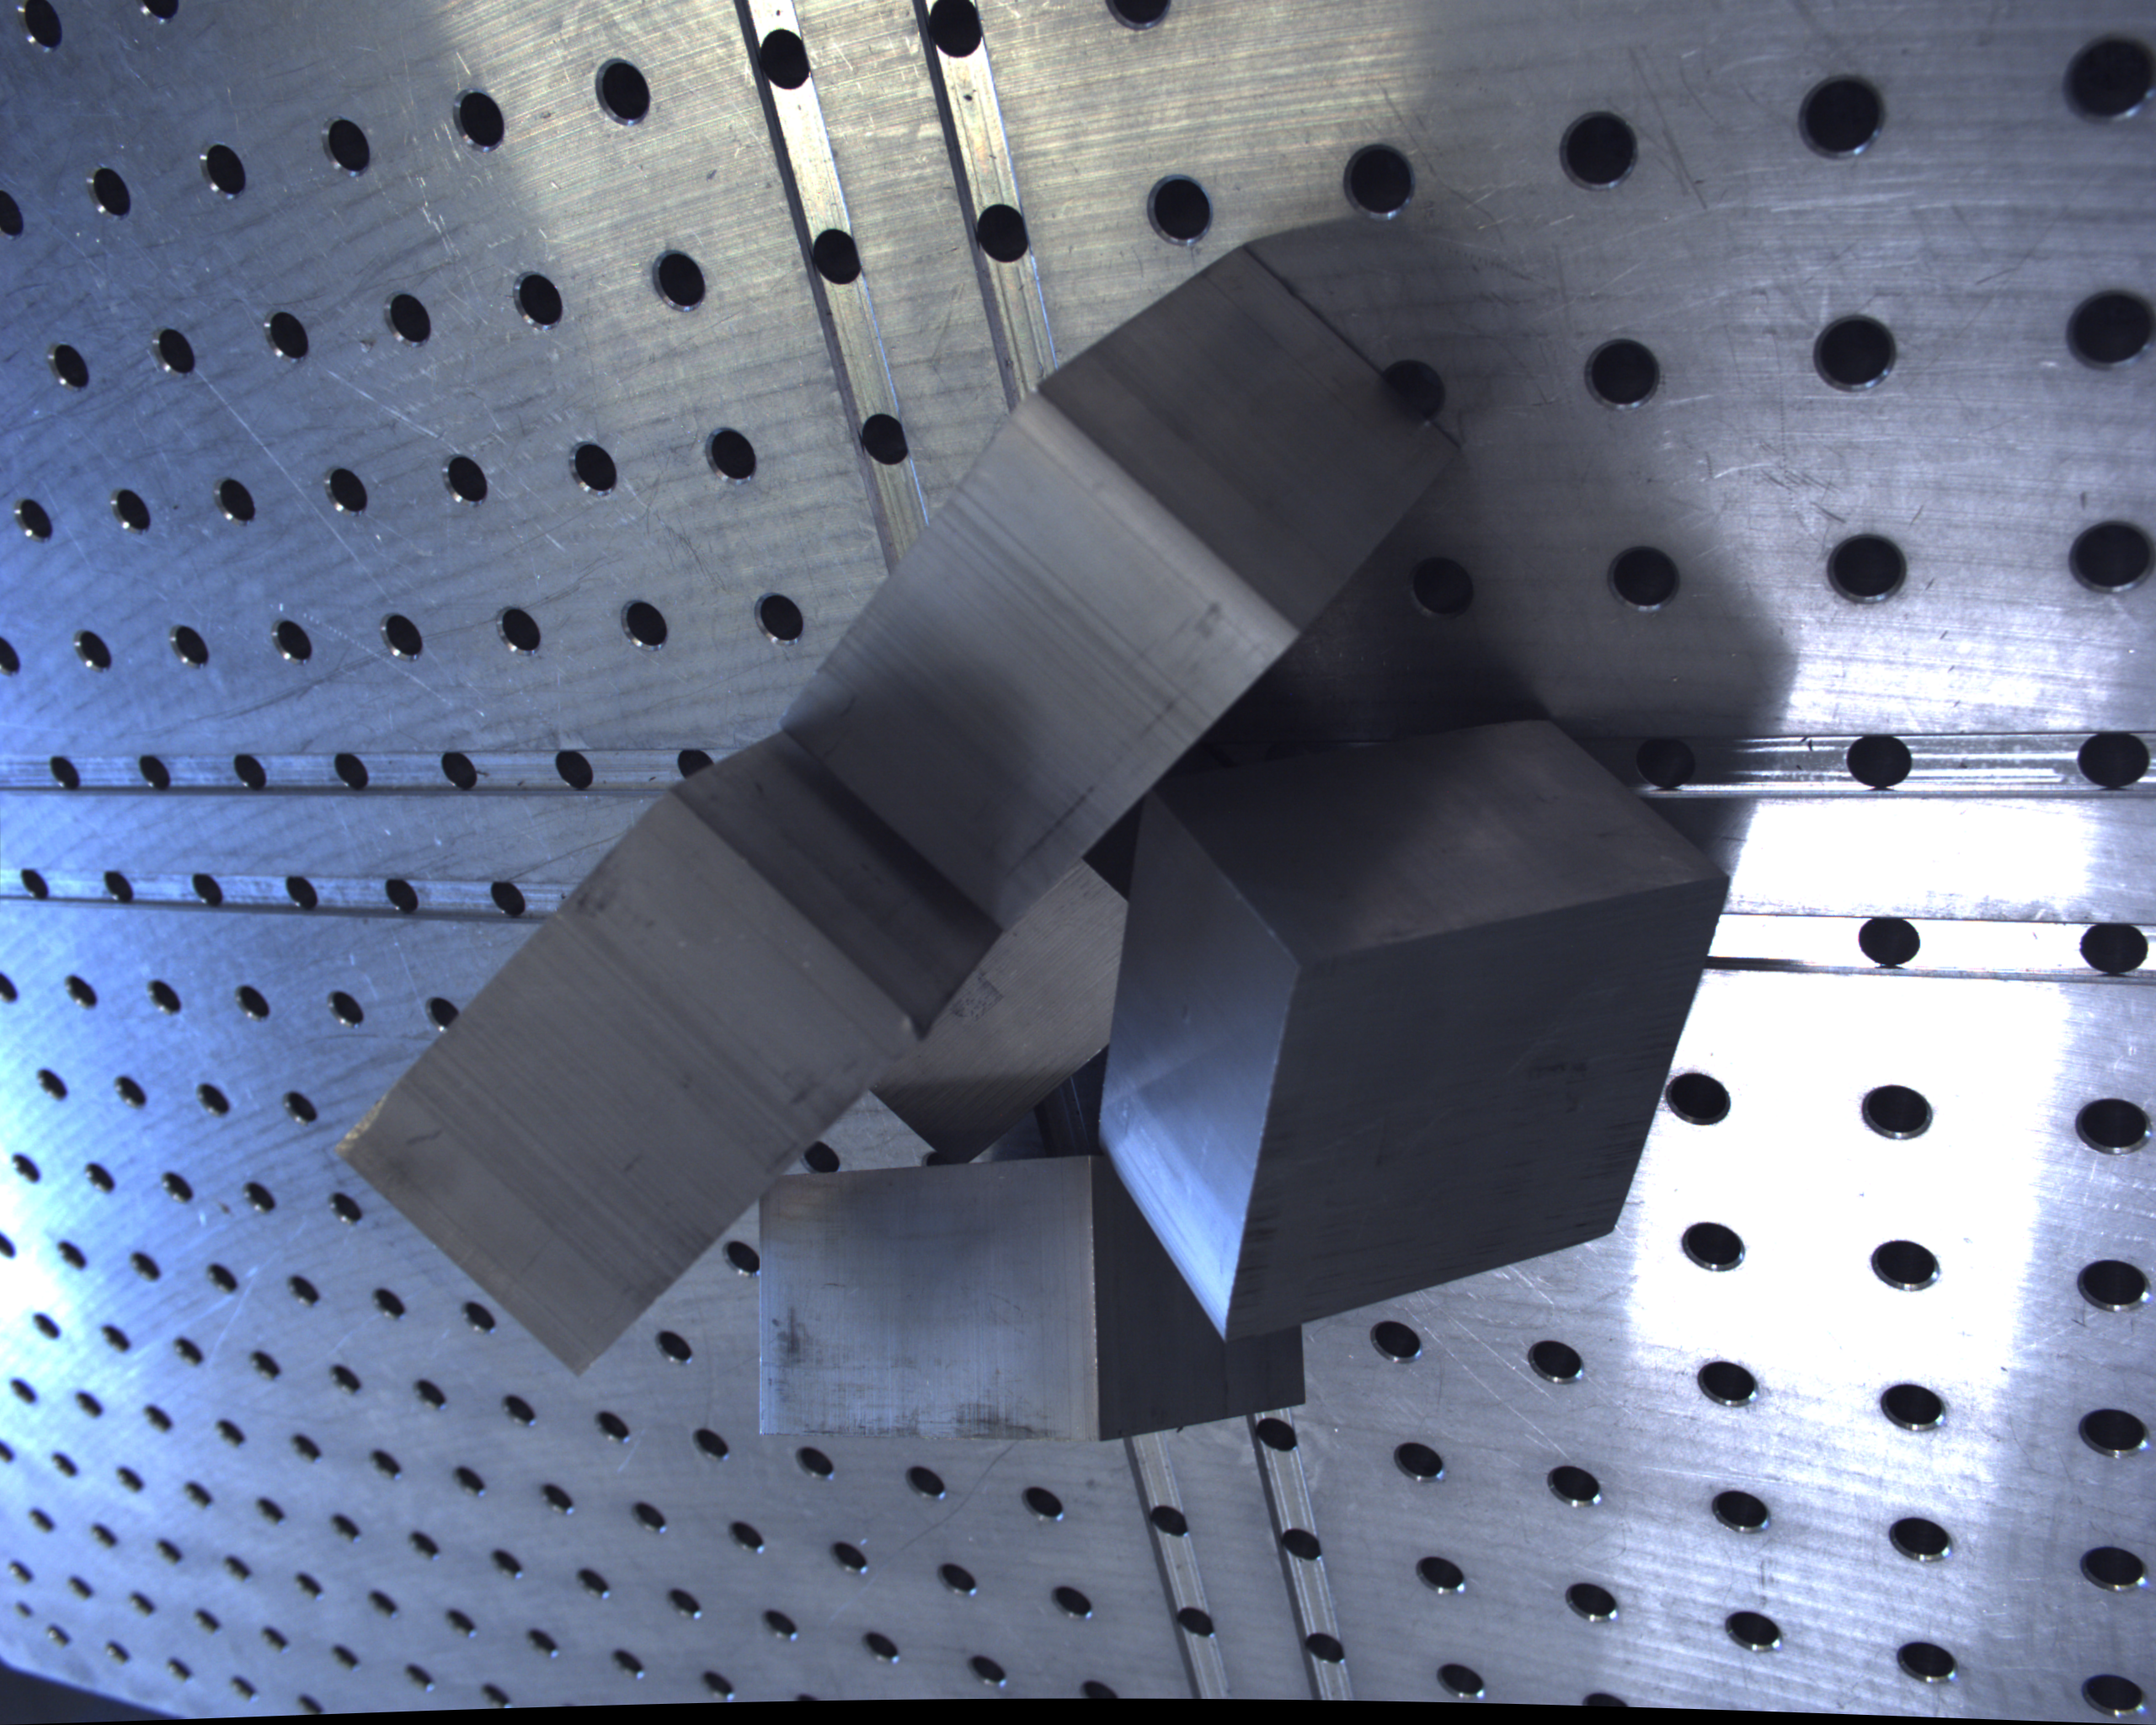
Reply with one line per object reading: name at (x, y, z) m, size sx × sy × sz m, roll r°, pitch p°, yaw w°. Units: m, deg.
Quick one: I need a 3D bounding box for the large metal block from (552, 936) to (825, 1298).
large metal block at (-0.085, 0.038, 0.443) m, size 0.050 × 0.080 × 0.080 m, roll 44°, pitch 129°, yaw -2°

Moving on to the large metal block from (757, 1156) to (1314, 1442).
large metal block at (-0.008, 0.088, 0.425) m, size 0.080 × 0.080 × 0.050 m, roll -9°, pitch 78°, yaw 32°

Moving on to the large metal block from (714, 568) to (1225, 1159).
large metal block at (-0.019, 0.000, 0.407) m, size 0.080 × 0.050 × 0.080 m, roll 43°, pitch 129°, yaw -2°

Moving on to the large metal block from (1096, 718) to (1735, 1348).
large metal block at (0.054, 0.027, 0.355) m, size 0.050 × 0.081 × 0.079 m, roll -127°, pitch 35°, yaw -47°

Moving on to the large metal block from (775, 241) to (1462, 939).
large metal block at (0.008, -0.046, 0.344) m, size 0.050 × 0.080 × 0.080 m, roll 43°, pitch 129°, yaw -2°

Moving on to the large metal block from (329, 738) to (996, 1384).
large metal block at (-0.061, 0.026, 0.343) m, size 0.050 × 0.080 × 0.080 m, roll 44°, pitch 104°, yaw -2°
